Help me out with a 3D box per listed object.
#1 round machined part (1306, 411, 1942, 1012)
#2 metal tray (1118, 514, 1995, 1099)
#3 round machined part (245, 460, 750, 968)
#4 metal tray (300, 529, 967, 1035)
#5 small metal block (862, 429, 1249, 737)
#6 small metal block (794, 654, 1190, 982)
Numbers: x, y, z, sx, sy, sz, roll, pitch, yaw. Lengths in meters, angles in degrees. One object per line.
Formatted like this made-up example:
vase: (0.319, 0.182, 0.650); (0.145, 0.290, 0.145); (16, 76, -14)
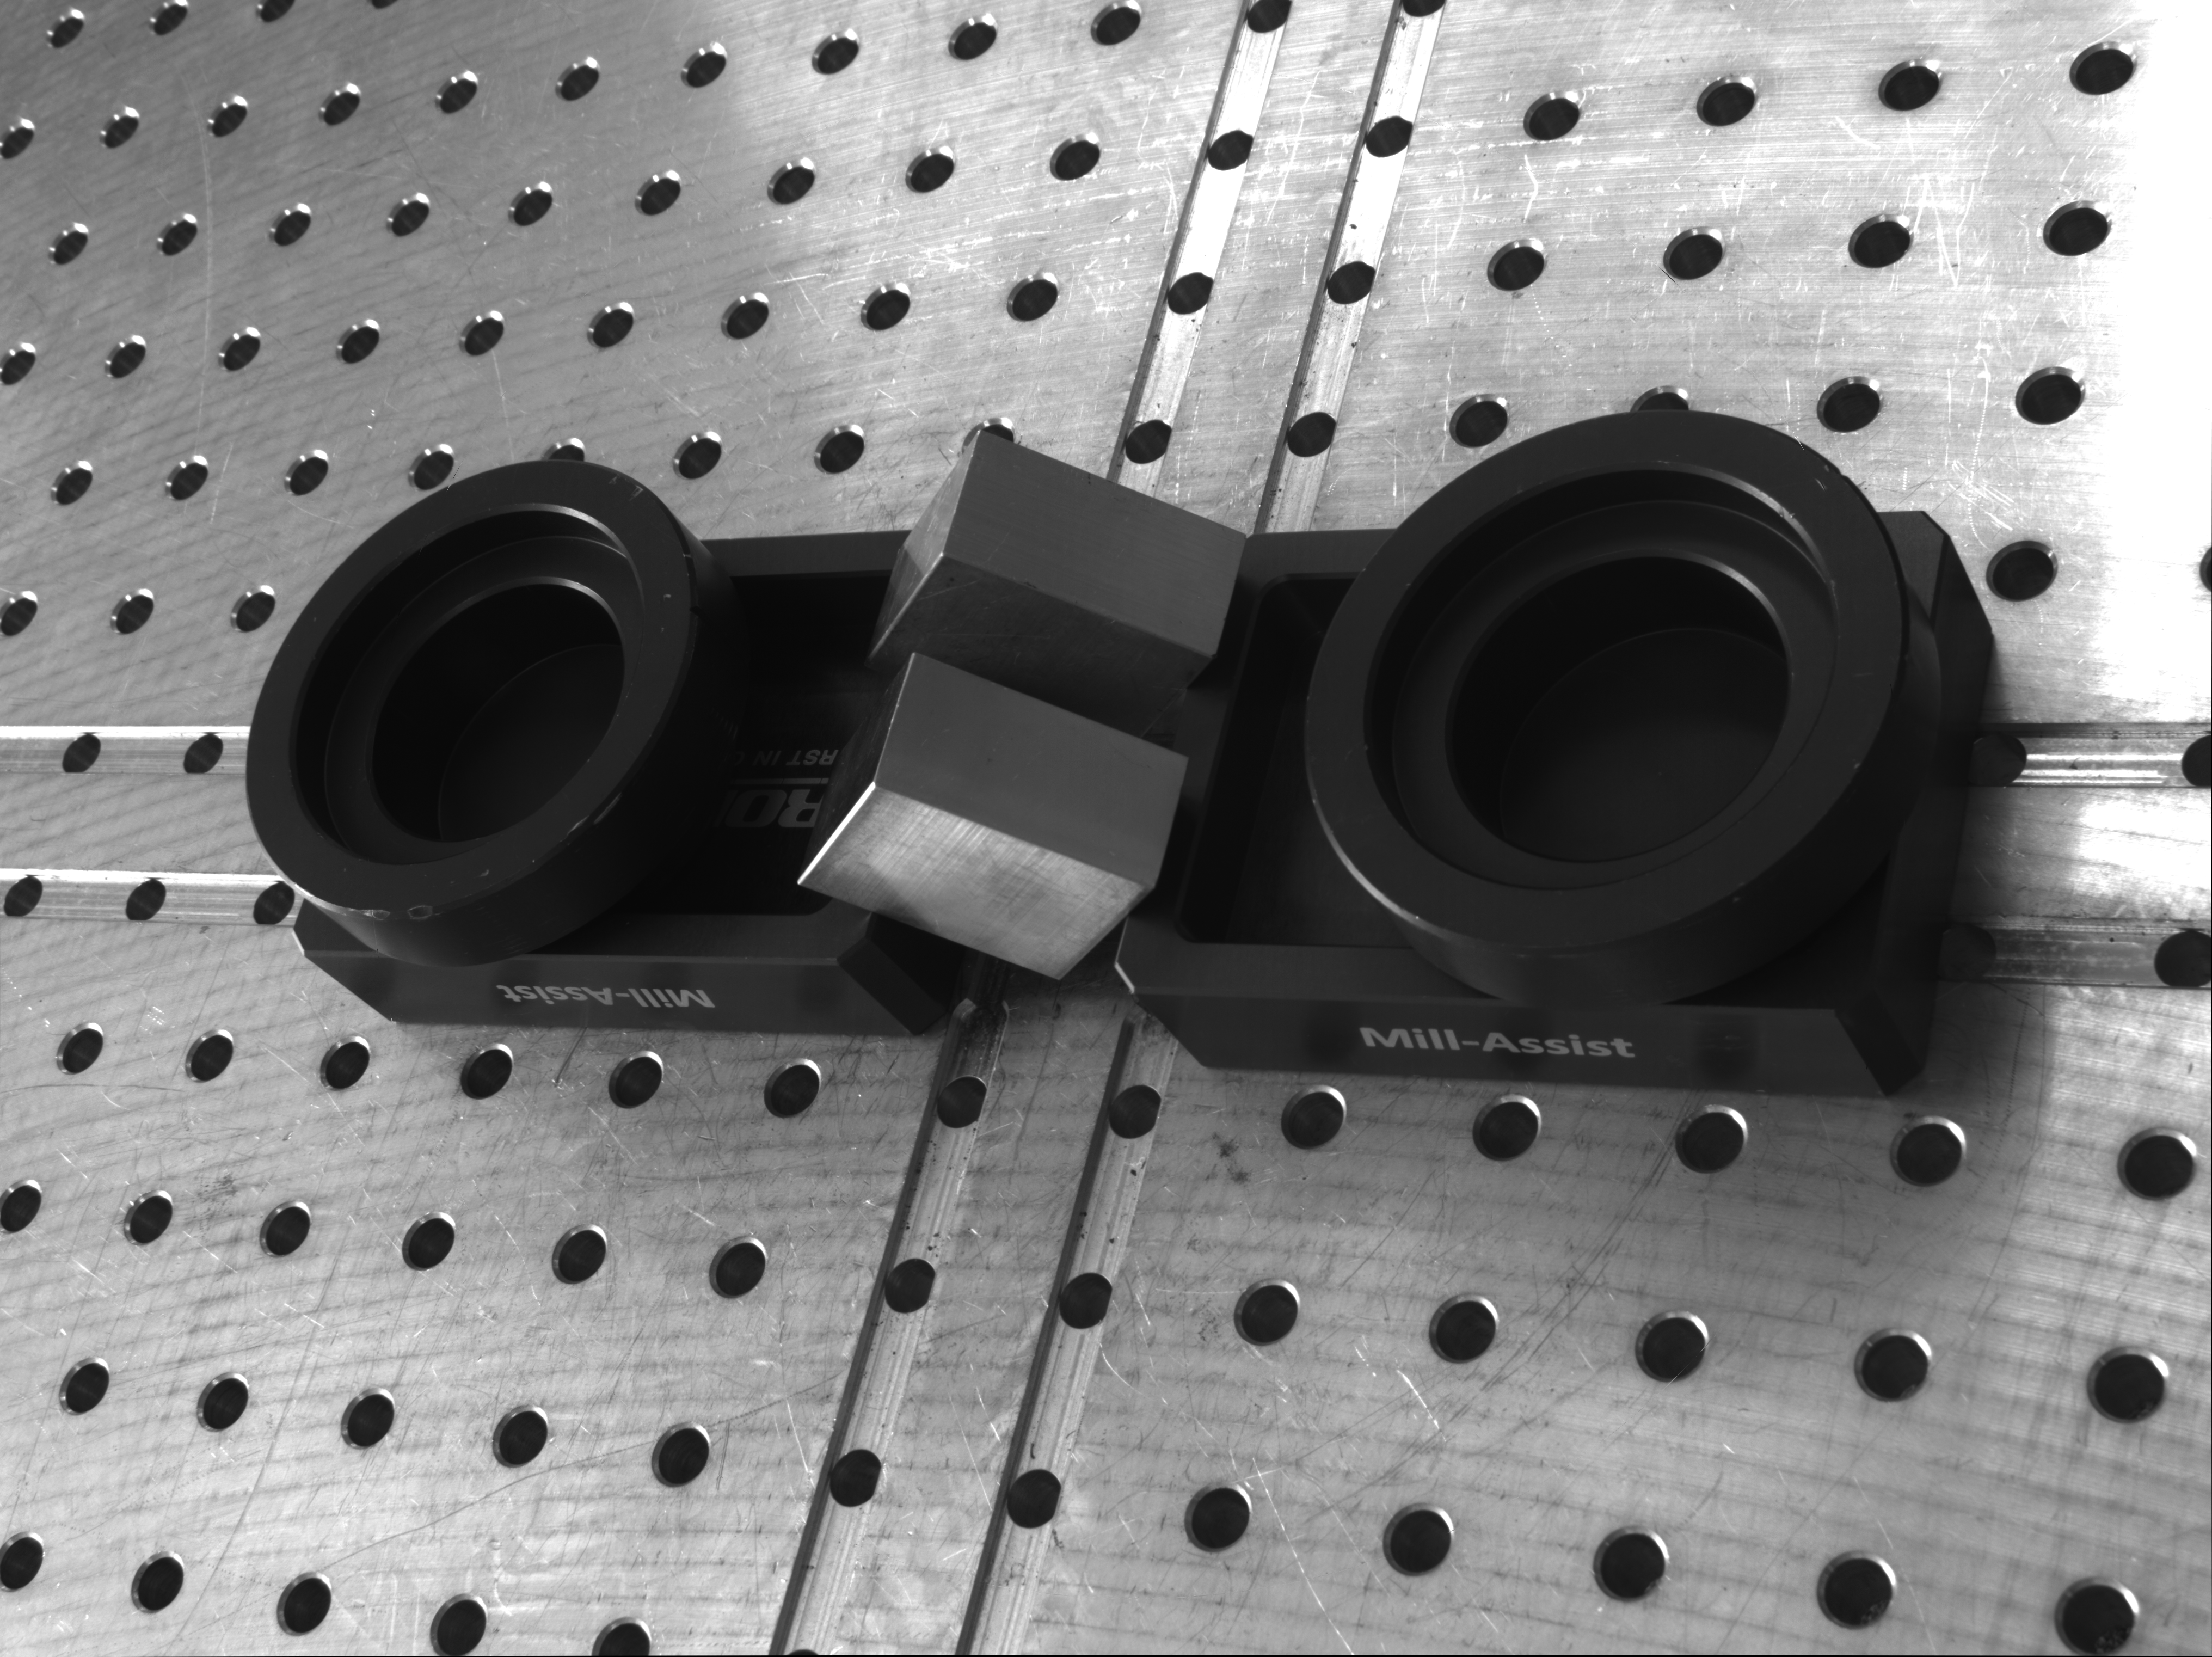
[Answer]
round machined part: (0.085, -0.014, 0.584); (0.098, 0.042, 0.098); (-13, 56, 21)
metal tray: (0.074, -0.005, 0.608); (0.130, 0.030, 0.090); (1, 62, 29)
round machined part: (-0.109, -0.017, 0.690); (0.098, 0.042, 0.098); (-13, 56, 21)
metal tray: (-0.082, -0.009, 0.696); (0.130, 0.030, 0.090); (-1, 63, 28)
small metal block: (-0.009, -0.040, 0.643); (0.050, 0.050, 0.025); (135, 153, -62)
small metal block: (-0.020, -0.001, 0.624); (0.050, 0.050, 0.025); (135, 153, -62)
